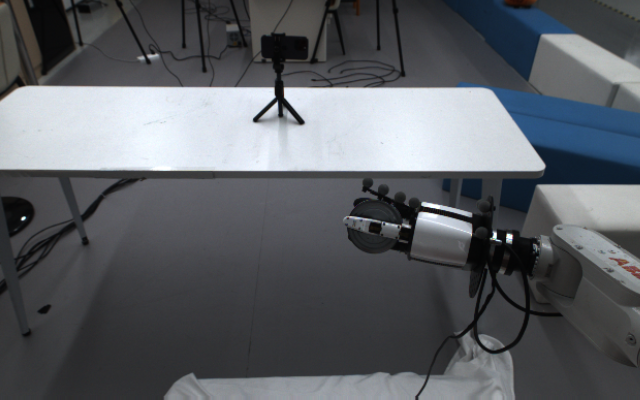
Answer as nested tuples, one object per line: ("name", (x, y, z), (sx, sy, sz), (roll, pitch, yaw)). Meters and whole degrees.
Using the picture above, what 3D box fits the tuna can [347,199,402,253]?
("tuna can", (0.090, 0.039, 0.767), (0.085, 0.085, 0.034), (13, 2, 16))
